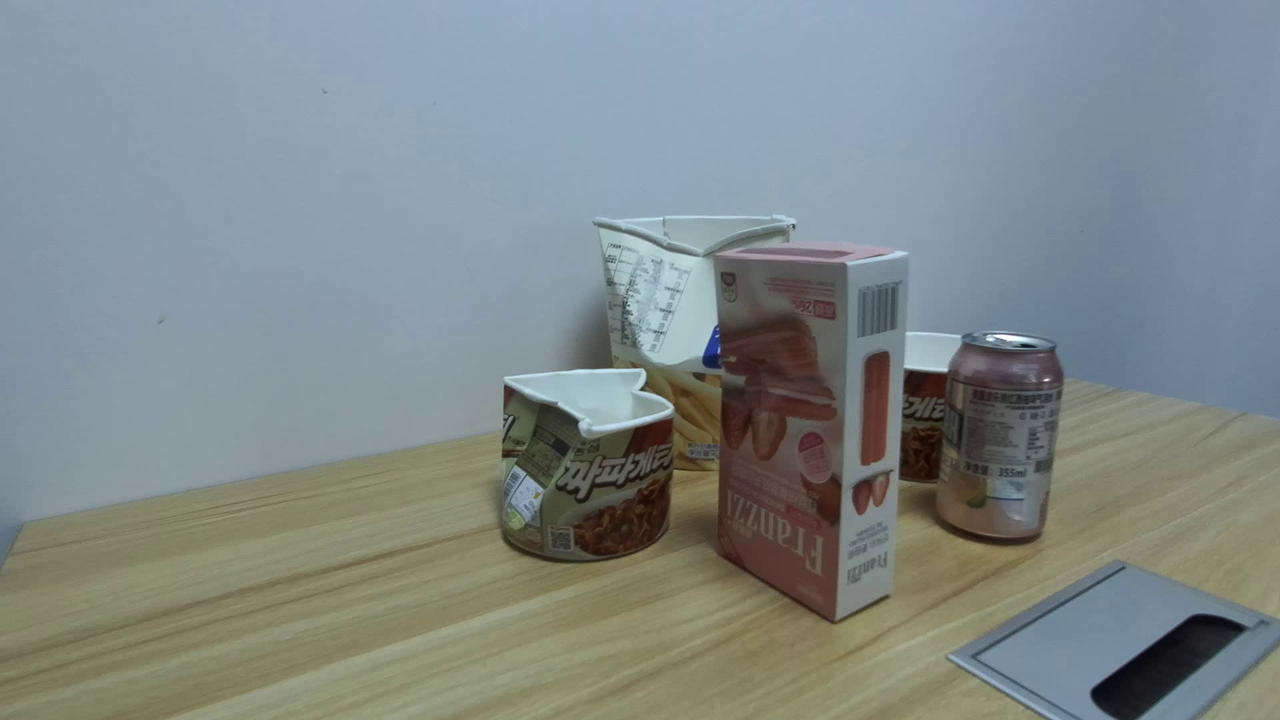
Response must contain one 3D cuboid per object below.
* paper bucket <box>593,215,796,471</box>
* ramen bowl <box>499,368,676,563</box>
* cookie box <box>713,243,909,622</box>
[{"bbox_3d":[0.044,-0.023,0.607,0.162,0.202,0.169,-1,10,6],"label":"paper bucket"},{"bbox_3d":[-0.035,0.066,0.458,0.112,0.093,0.128,-3,14,-11],"label":"ramen bowl"},{"bbox_3d":[0.086,0.032,0.387,0.049,0.187,0.104,-11,17,-33],"label":"cookie box"}]
